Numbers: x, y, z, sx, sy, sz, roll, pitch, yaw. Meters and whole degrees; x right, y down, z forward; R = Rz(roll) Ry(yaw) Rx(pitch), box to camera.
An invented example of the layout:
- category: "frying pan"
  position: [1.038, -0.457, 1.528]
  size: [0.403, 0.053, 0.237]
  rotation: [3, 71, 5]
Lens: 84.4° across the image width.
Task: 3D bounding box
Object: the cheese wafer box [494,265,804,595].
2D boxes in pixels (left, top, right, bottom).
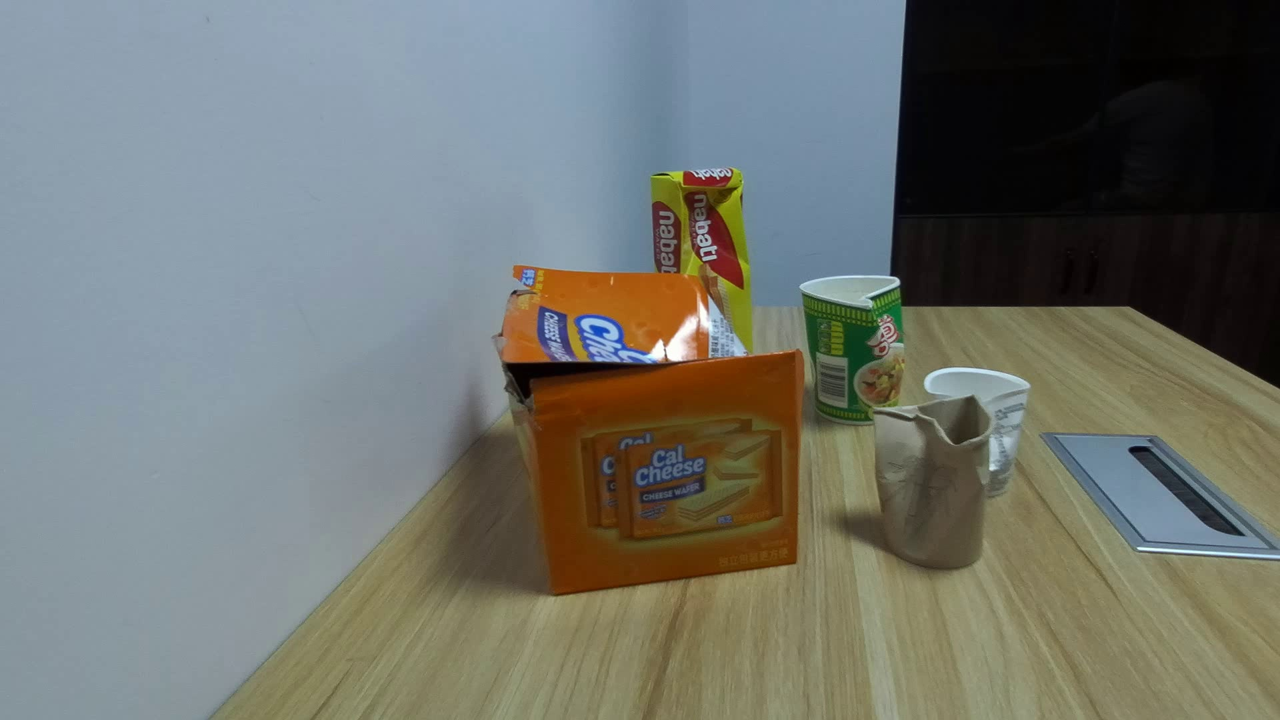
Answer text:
- category: "cheese wafer box"
  position: [0.009, 0.021, 0.472]
  size: [0.191, 0.145, 0.218]
  rotation: [-6, 19, -9]

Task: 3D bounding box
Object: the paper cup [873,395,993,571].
- category: "paper cup"
  position: [0.167, 0.069, 0.406]
  size: [0.058, 0.083, 0.066]
  rotation: [0, 18, 12]

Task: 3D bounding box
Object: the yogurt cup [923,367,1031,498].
- category: "yogurt cup"
  position: [0.222, 0.049, 0.478]
  size: [0.067, 0.070, 0.067]
  rotation: [-1, 22, 1]

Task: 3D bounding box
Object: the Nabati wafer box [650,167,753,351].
- category: "Nabati wafer box"
  position: [0.060, -0.067, 0.637]
  size: [0.097, 0.203, 0.042]
  rotation: [-13, 18, -36]

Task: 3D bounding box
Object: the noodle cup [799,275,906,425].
- category: "noodle cup"
  position: [0.180, -0.010, 0.592]
  size: [0.094, 0.109, 0.086]
  rotation: [-16, 23, -33]
